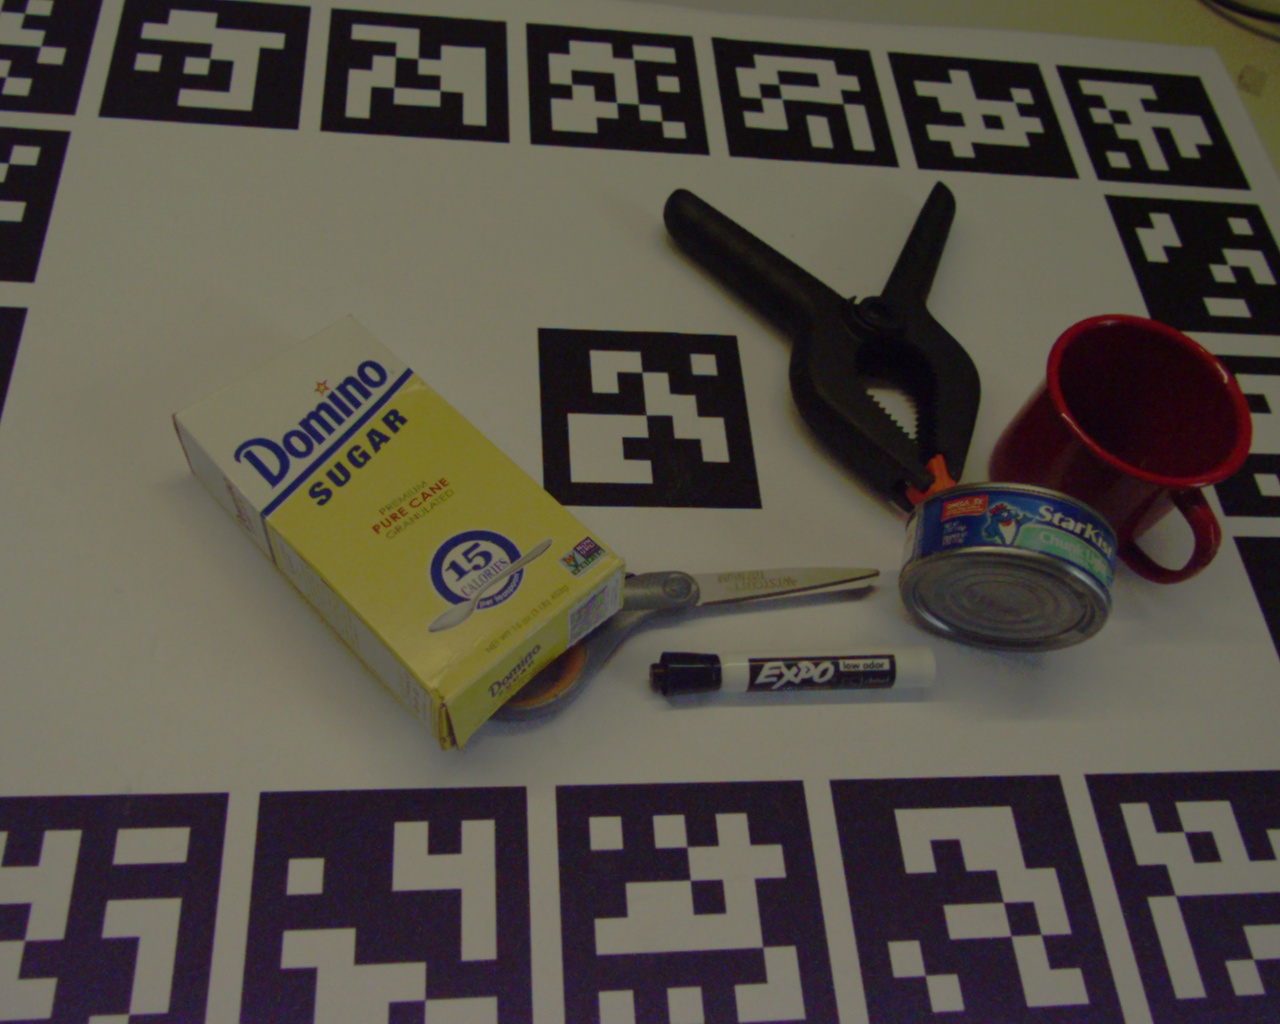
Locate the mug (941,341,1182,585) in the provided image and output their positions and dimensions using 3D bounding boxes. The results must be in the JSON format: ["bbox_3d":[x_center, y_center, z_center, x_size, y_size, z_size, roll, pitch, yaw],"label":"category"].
[{"bbox_3d":[0.207,-0.014,0.557,0.092,0.081,0.118,-26,65,-22],"label":"mug"}]

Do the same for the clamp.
[{"bbox_3d":[0.105,-0.080,0.611,0.164,0.037,0.204,-10,64,-15],"label":"clamp"}]

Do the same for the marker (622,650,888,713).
[{"bbox_3d":[0.052,0.076,0.513,0.120,0.019,0.020,-3,63,-11],"label":"marker"}]

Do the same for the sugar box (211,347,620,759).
[{"bbox_3d":[-0.101,0.011,0.503,0.092,0.045,0.178,-36,66,-25],"label":"sugar box"}]

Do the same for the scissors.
[{"bbox_3d":[0.004,0.039,0.523,0.201,0.016,0.088,-9,59,-16],"label":"scissors"}]

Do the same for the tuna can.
[{"bbox_3d":[0.154,0.030,0.518,0.086,0.086,0.034,15,60,-2],"label":"tuna can"}]
